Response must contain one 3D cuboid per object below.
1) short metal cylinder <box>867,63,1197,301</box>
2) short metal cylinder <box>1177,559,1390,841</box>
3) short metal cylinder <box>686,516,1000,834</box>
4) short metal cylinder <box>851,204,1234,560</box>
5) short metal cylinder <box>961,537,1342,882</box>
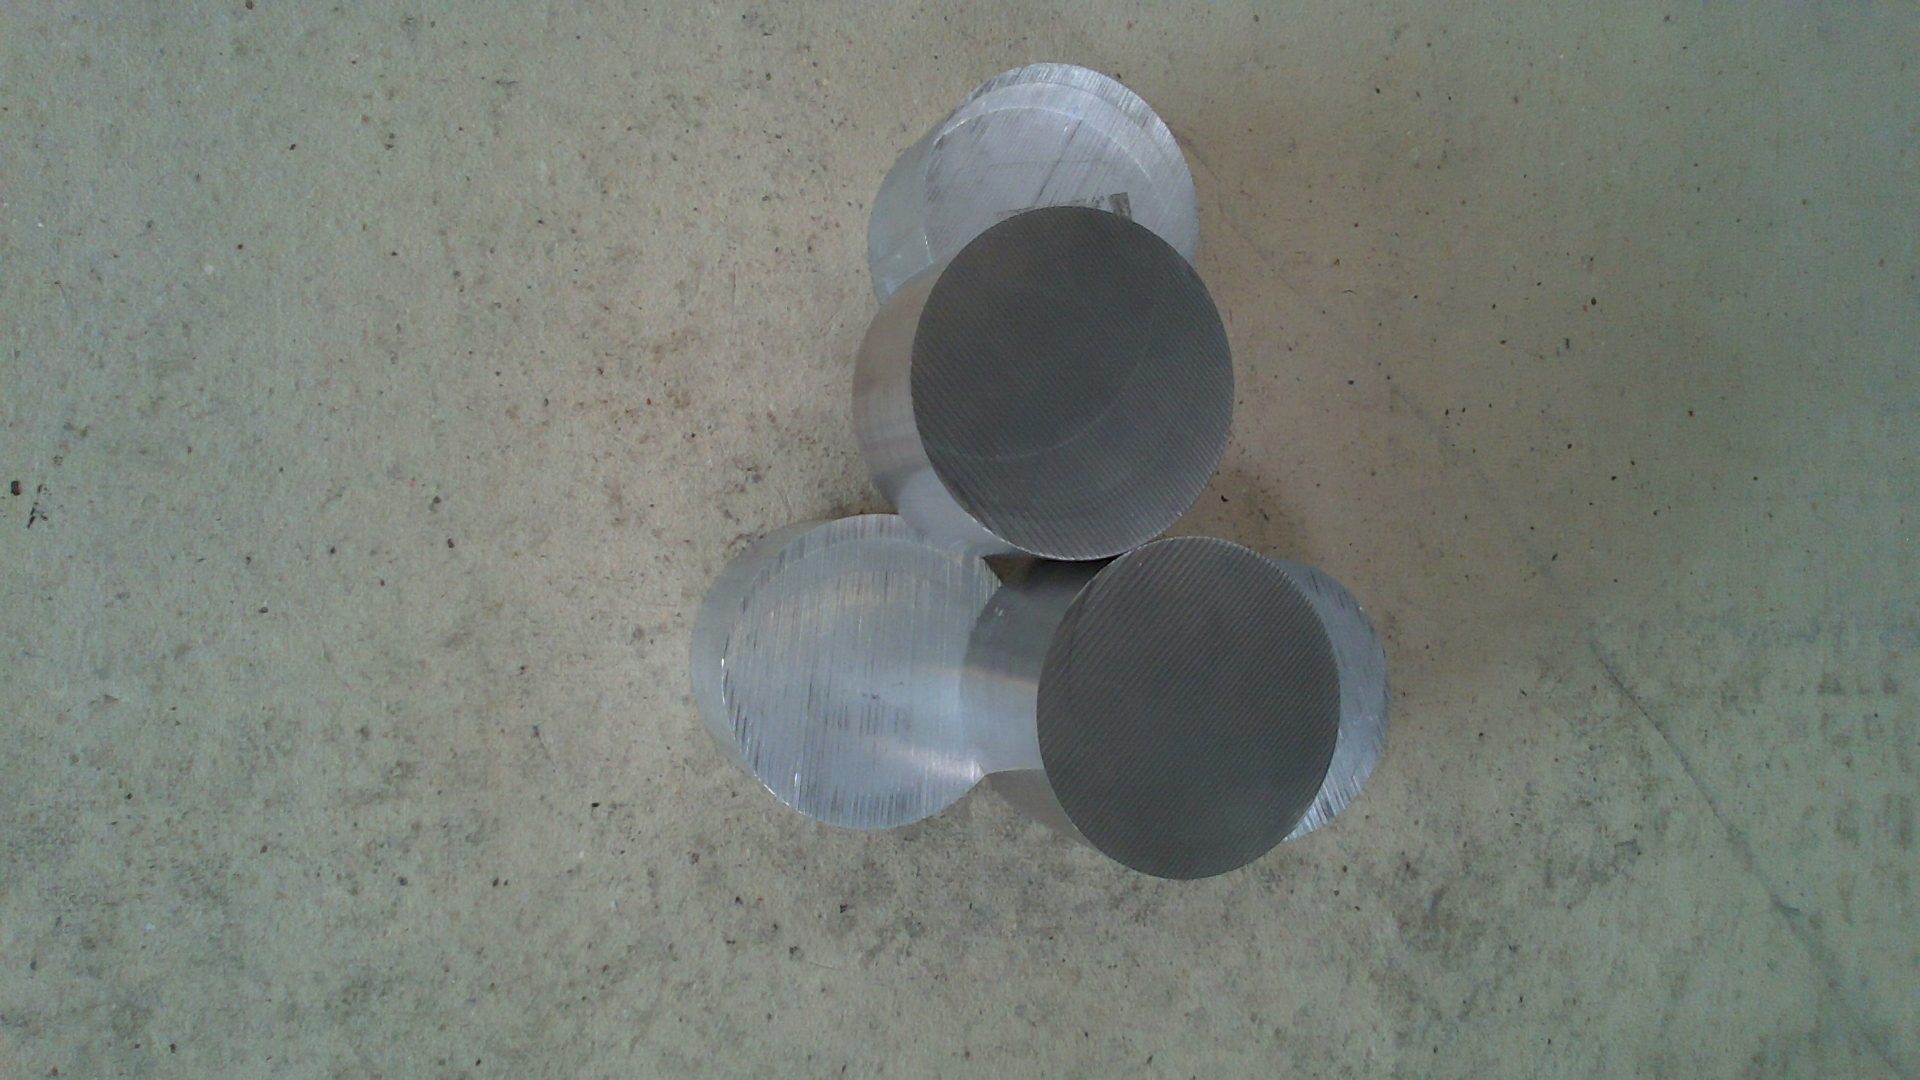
[{"bbox_3d":[0.019,-0.086,0.387,0.080,0.050,0.080,0,90,-20],"label":"short metal cylinder"},{"bbox_3d":[0.079,0.045,0.409,0.080,0.050,0.080,0,90,-20],"label":"short metal cylinder"},{"bbox_3d":[-0.030,0.034,0.369,0.080,0.050,0.080,0,90,-20],"label":"short metal cylinder"},{"bbox_3d":[0.018,-0.035,0.333,0.080,0.050,0.080,0,90,-20],"label":"short metal cylinder"},{"bbox_3d":[0.047,0.039,0.343,0.080,0.050,0.080,0,90,-20],"label":"short metal cylinder"}]
